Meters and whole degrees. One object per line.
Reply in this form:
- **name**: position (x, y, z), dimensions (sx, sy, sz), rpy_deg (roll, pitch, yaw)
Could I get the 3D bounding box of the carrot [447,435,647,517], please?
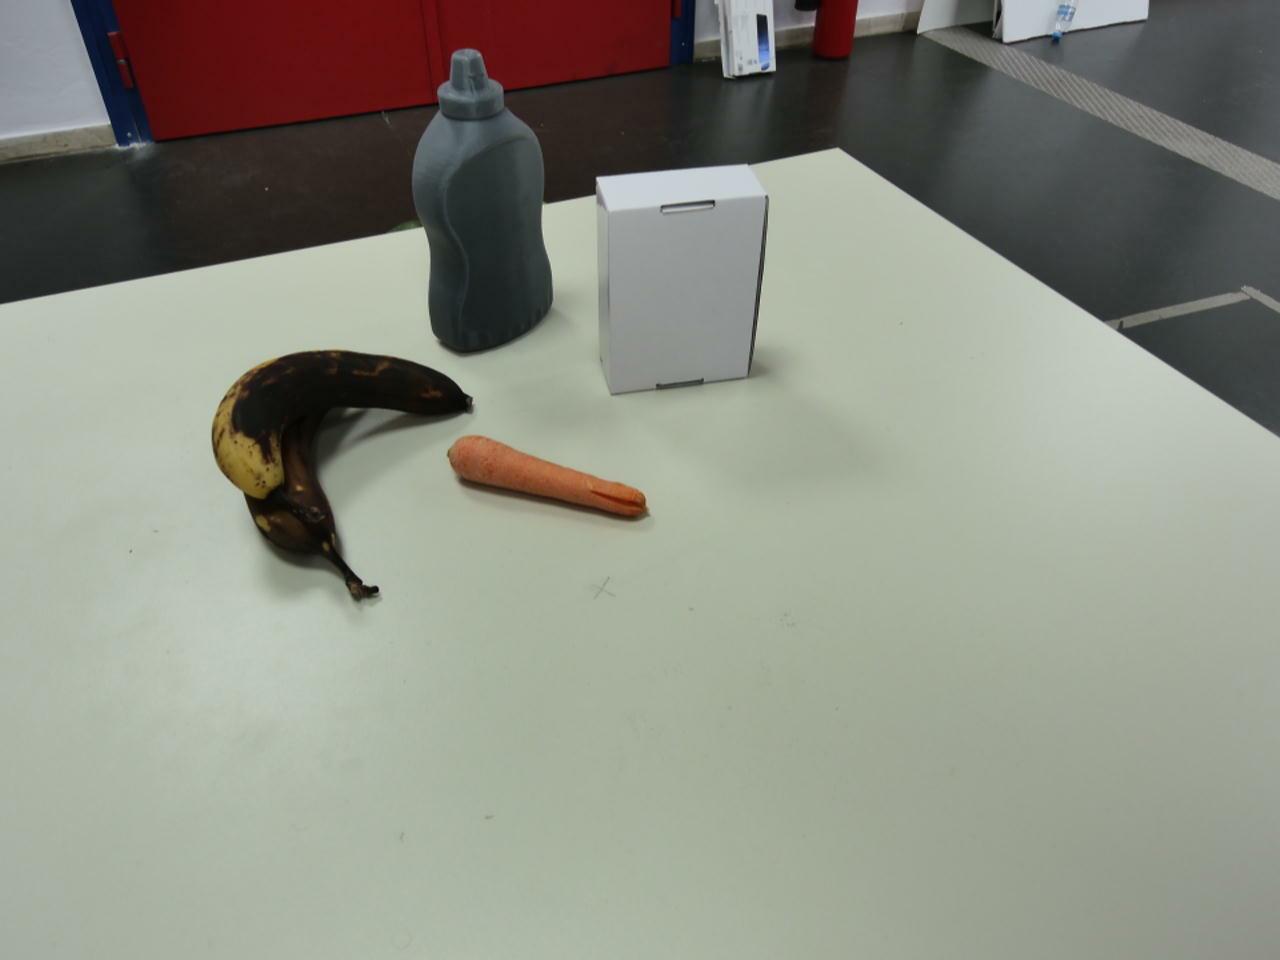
- **carrot**: position (-0.060, -0.002, 0.627), dimensions (0.136, 0.032, 0.030), rpy_deg (13, 40, 16)
